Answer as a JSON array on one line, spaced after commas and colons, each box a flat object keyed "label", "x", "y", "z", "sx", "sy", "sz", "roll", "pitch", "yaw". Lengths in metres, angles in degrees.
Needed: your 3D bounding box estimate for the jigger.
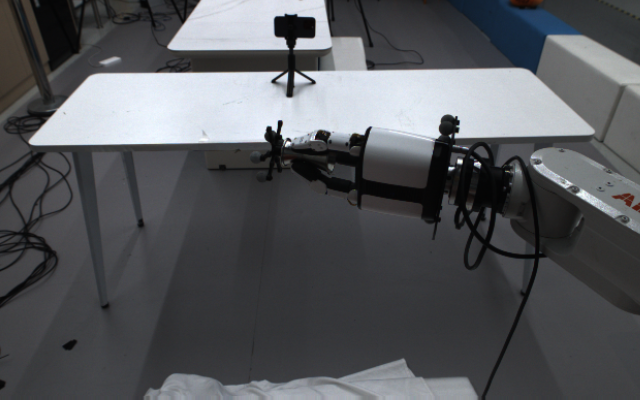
[{"label": "jigger", "x": -0.010, "y": -0.066, "z": 0.667, "sx": 0.071, "sy": 0.043, "sz": 0.043, "roll": 10, "pitch": 35, "yaw": 16}]
